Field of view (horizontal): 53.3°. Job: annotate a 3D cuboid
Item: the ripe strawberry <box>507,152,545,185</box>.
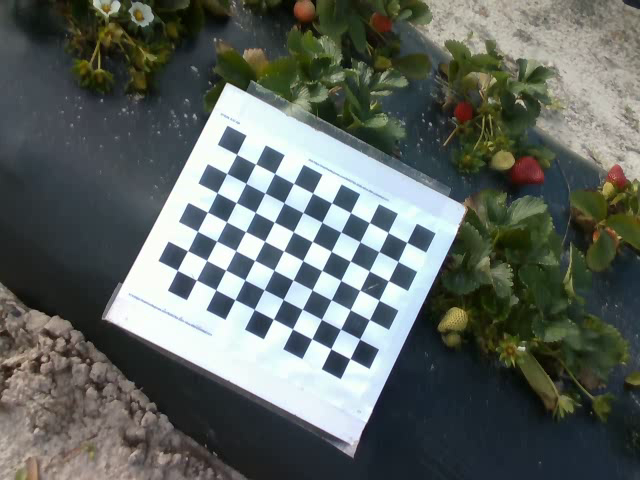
[{"bbox_3d":[0.318,-0.101,0.970,0.051,0.048,0.055,-30,34,-4],"label":"ripe strawberry"}]
